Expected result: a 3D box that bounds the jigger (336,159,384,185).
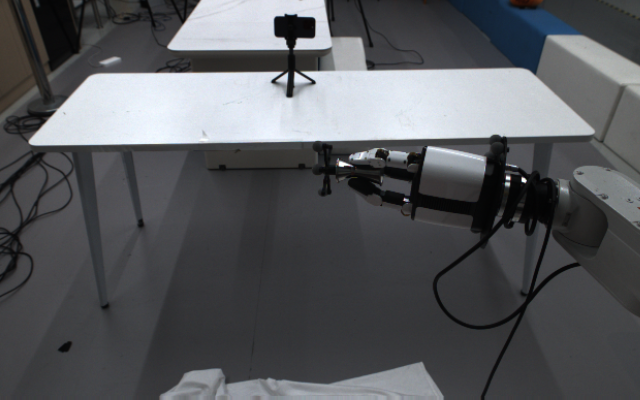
[{"bbox_3d":[0.068,-0.048,0.735,0.071,0.043,0.043,2,34,12],"label":"jigger"}]
